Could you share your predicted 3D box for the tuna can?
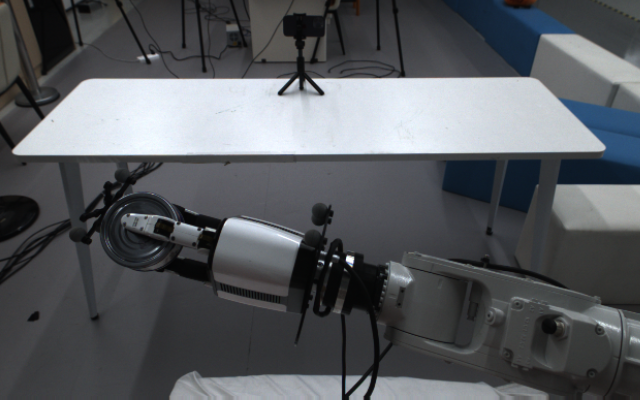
[{"bbox_3d":[-0.191,0.039,0.533,0.085,0.034,0.085,1,77,-5],"label":"tuna can"}]
